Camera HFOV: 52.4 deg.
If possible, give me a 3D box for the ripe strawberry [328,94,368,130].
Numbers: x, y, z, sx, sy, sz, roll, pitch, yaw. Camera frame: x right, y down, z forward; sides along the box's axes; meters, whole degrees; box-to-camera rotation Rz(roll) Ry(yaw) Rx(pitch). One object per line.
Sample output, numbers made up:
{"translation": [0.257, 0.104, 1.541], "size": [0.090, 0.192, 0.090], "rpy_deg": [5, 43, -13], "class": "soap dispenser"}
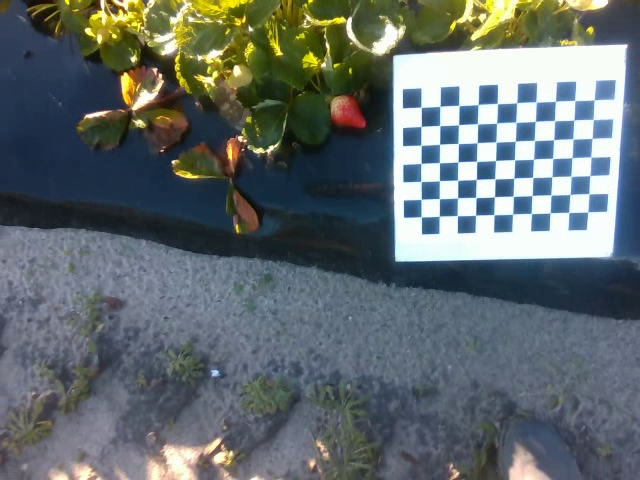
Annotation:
{"translation": [0.040, -0.176, 0.897], "size": [0.065, 0.040, 0.040], "rpy_deg": [38, 10, -5], "class": "ripe strawberry"}
